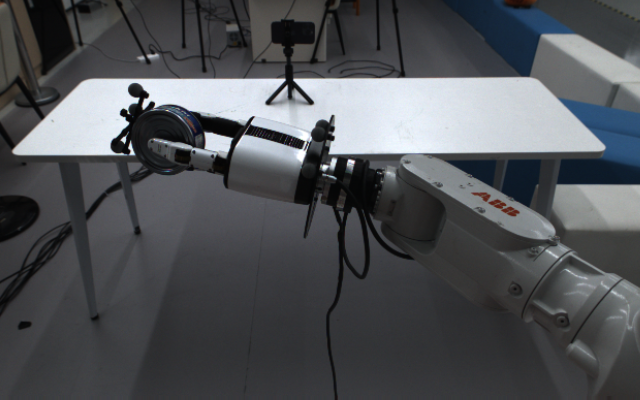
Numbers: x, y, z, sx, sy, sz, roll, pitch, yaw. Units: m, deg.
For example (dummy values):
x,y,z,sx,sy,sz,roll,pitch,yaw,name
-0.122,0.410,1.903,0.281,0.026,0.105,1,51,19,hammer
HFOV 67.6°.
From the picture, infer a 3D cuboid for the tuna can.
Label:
x,y,z,sx,sy,sz,roll,pitch,yaw,name
-0.191,-0.076,0.609,0.085,0.085,0.034,6,20,6,tuna can
